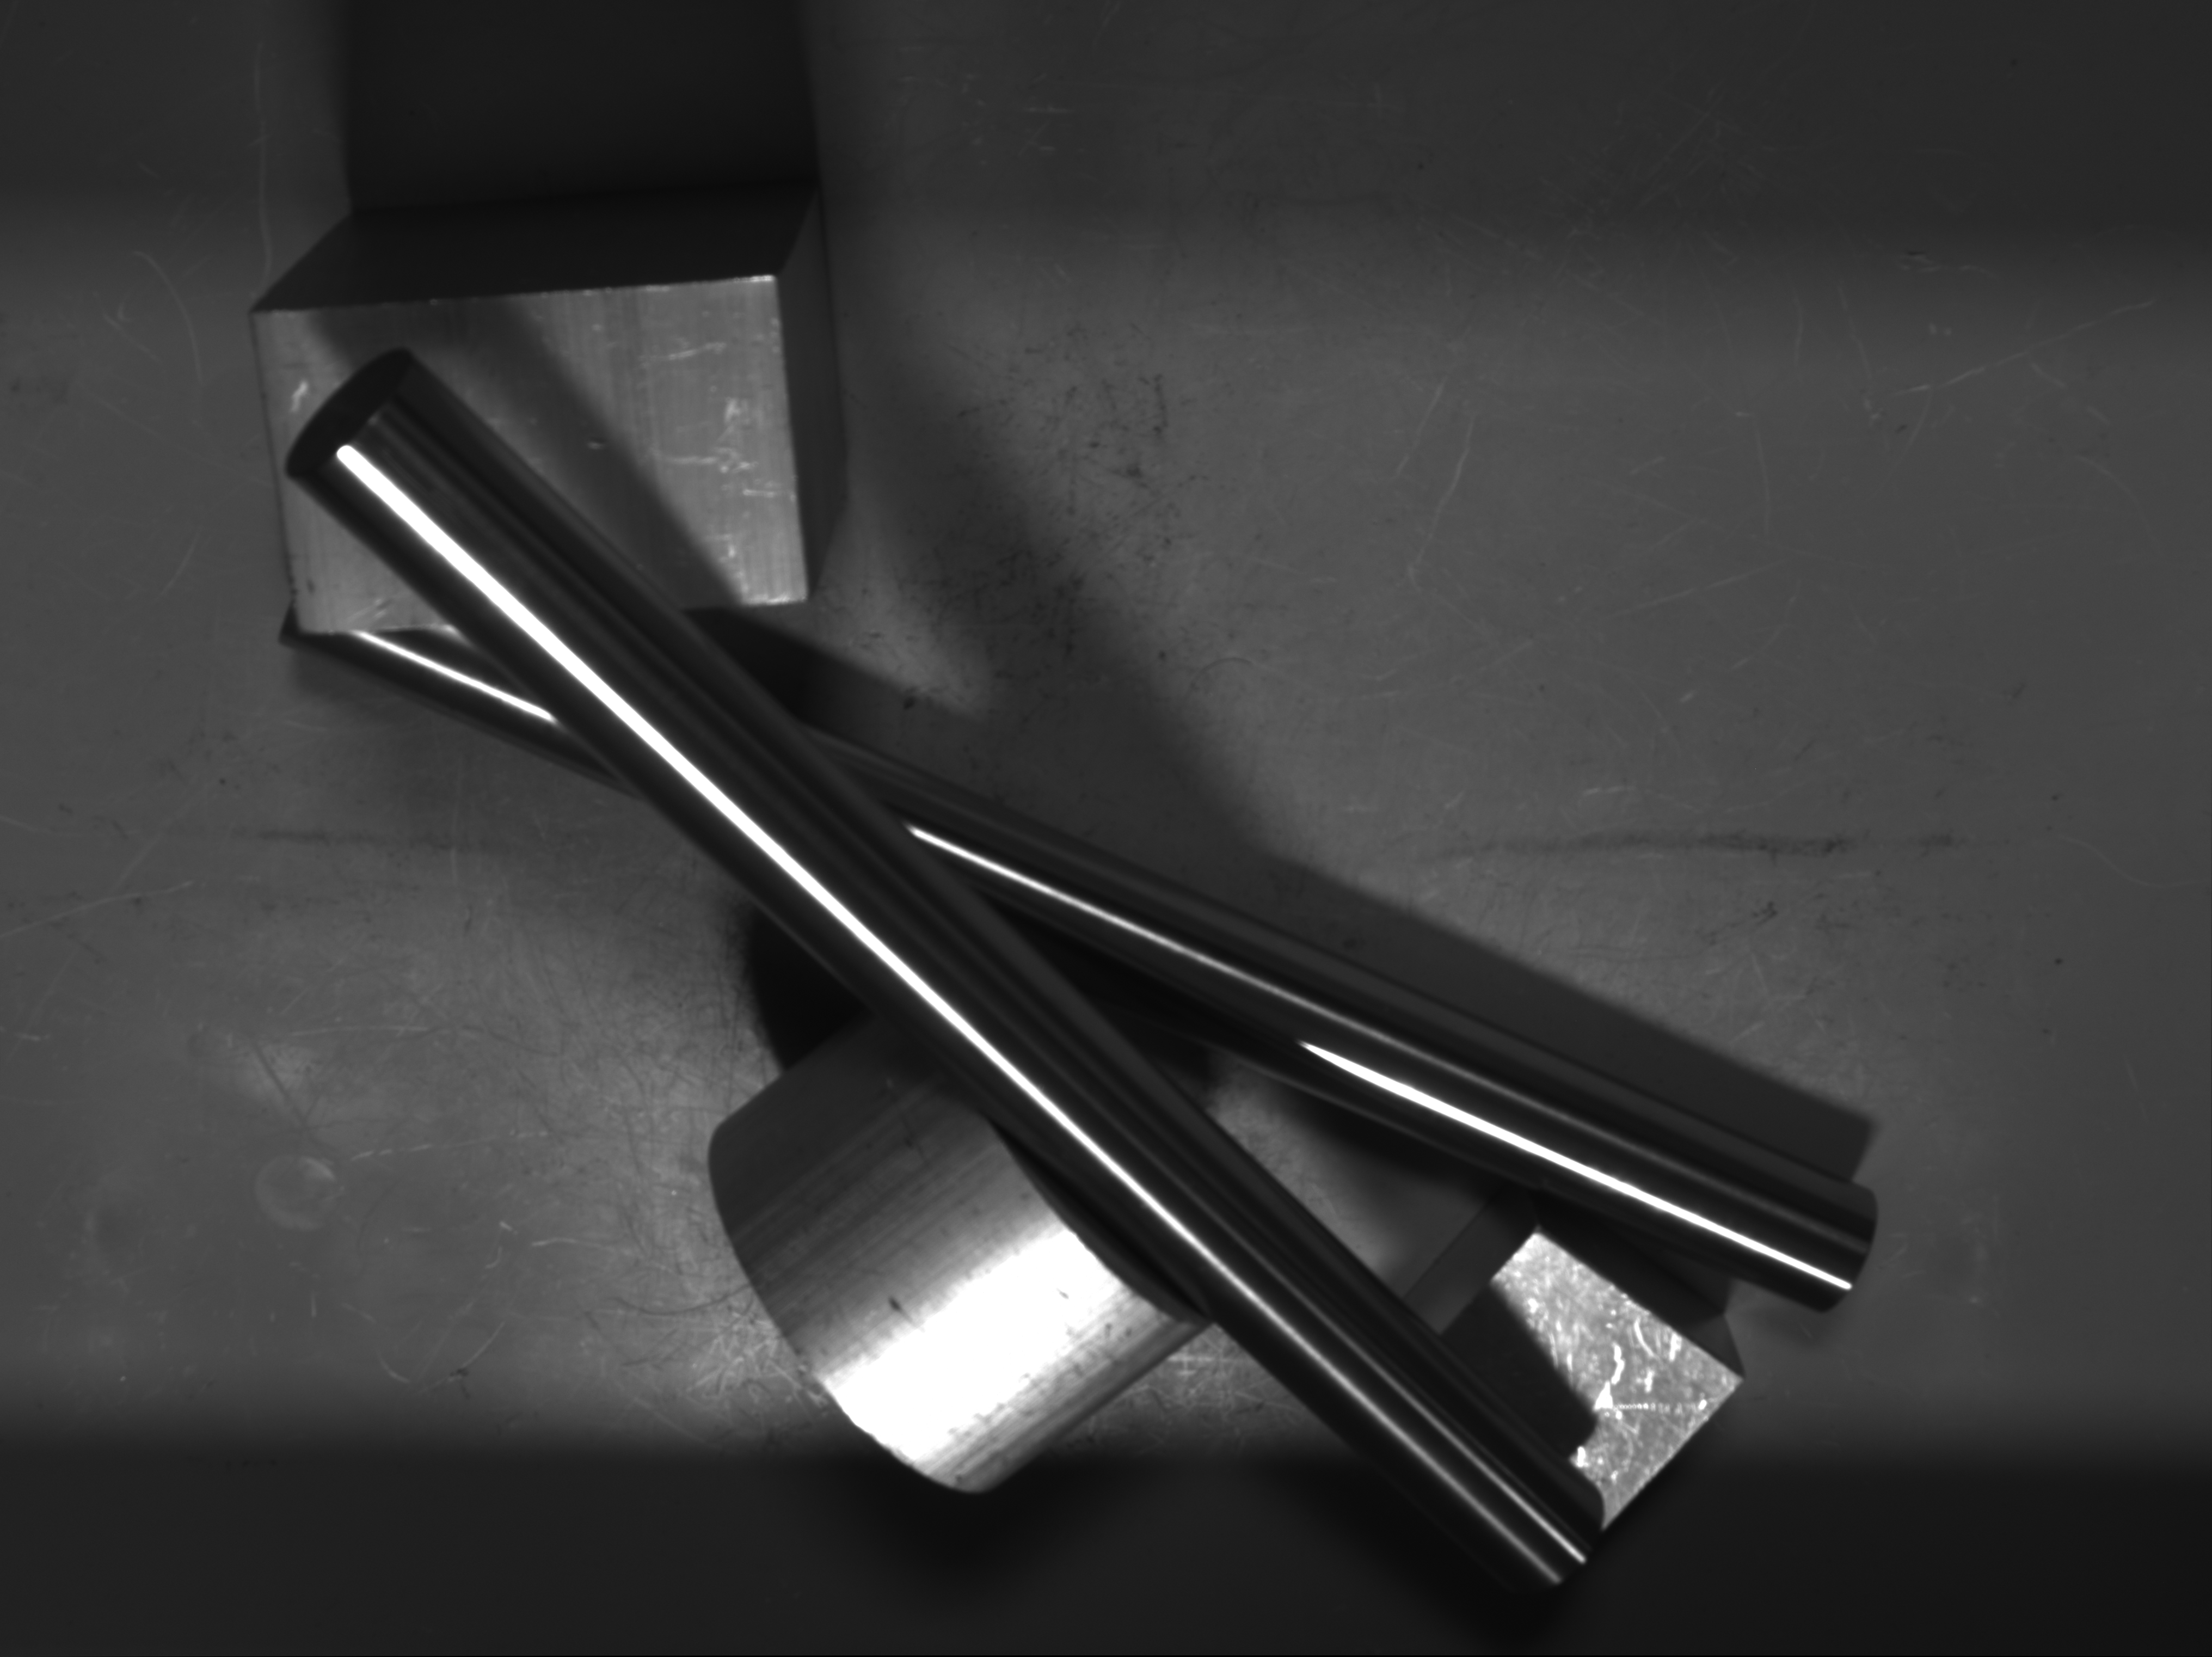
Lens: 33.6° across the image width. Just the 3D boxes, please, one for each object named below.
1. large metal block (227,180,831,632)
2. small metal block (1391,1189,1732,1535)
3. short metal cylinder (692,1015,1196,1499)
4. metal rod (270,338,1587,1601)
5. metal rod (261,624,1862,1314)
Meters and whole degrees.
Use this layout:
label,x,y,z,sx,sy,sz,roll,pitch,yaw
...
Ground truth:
label,x,y,z,sx,sy,sz,roll,pitch,yaw
large metal block,-0.089,-0.069,0.587,0.080,0.080,0.050,-3,110,1
small metal block,0.079,0.101,0.680,0.050,0.025,0.050,36,106,-13
short metal cylinder,-0.026,0.069,0.636,0.050,0.080,0.080,-38,106,12
metal rod,-0.017,0.034,0.592,0.025,0.025,0.301,-38,118,12
metal rod,-0.003,0.017,0.648,0.300,0.025,0.025,24,108,-9
